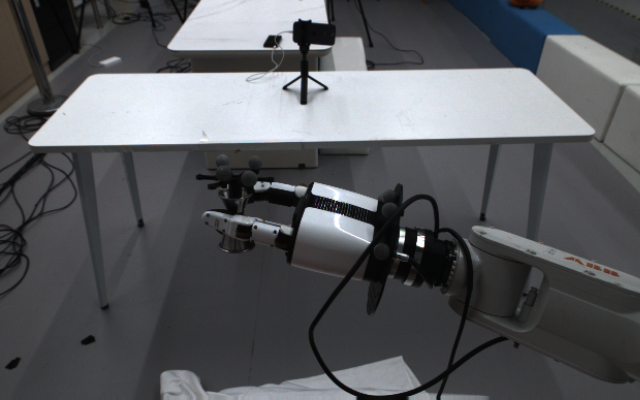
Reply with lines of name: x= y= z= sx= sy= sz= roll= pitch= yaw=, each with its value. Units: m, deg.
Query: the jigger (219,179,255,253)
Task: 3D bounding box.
jigger: x=-0.099 y=0.022 z=0.578 sx=0.043 sy=0.071 sz=0.043 roll=2 pitch=20 yaw=-1
